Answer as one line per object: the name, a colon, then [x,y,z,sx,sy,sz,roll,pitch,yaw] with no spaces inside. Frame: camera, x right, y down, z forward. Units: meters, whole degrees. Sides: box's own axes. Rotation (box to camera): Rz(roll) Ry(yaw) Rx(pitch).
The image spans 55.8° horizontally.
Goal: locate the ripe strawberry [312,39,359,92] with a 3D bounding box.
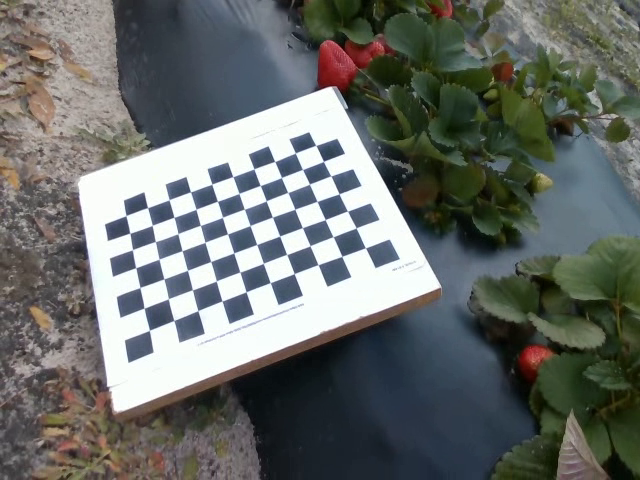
ripe strawberry: [0.014,-0.212,0.718,0.057,0.056,0.064,13,-29,39]
